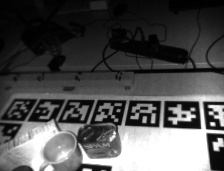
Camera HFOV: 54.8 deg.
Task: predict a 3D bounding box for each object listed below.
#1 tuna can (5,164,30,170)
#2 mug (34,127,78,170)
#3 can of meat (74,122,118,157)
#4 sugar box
[{"bbox_3d":[-0.245,0.248,0.548,0.085,0.034,0.085,-7,46,9],"label":"tuna can"},{"bbox_3d":[-0.146,0.176,0.555,0.092,0.082,0.117,20,56,31],"label":"mug"},{"bbox_3d":[-0.039,0.143,0.571,0.101,0.084,0.057,-7,43,7],"label":"can of meat"},{"bbox_3d":[-0.232,0.170,0.590,0.177,0.093,0.045,-27,43,-14],"label":"sugar box"}]
